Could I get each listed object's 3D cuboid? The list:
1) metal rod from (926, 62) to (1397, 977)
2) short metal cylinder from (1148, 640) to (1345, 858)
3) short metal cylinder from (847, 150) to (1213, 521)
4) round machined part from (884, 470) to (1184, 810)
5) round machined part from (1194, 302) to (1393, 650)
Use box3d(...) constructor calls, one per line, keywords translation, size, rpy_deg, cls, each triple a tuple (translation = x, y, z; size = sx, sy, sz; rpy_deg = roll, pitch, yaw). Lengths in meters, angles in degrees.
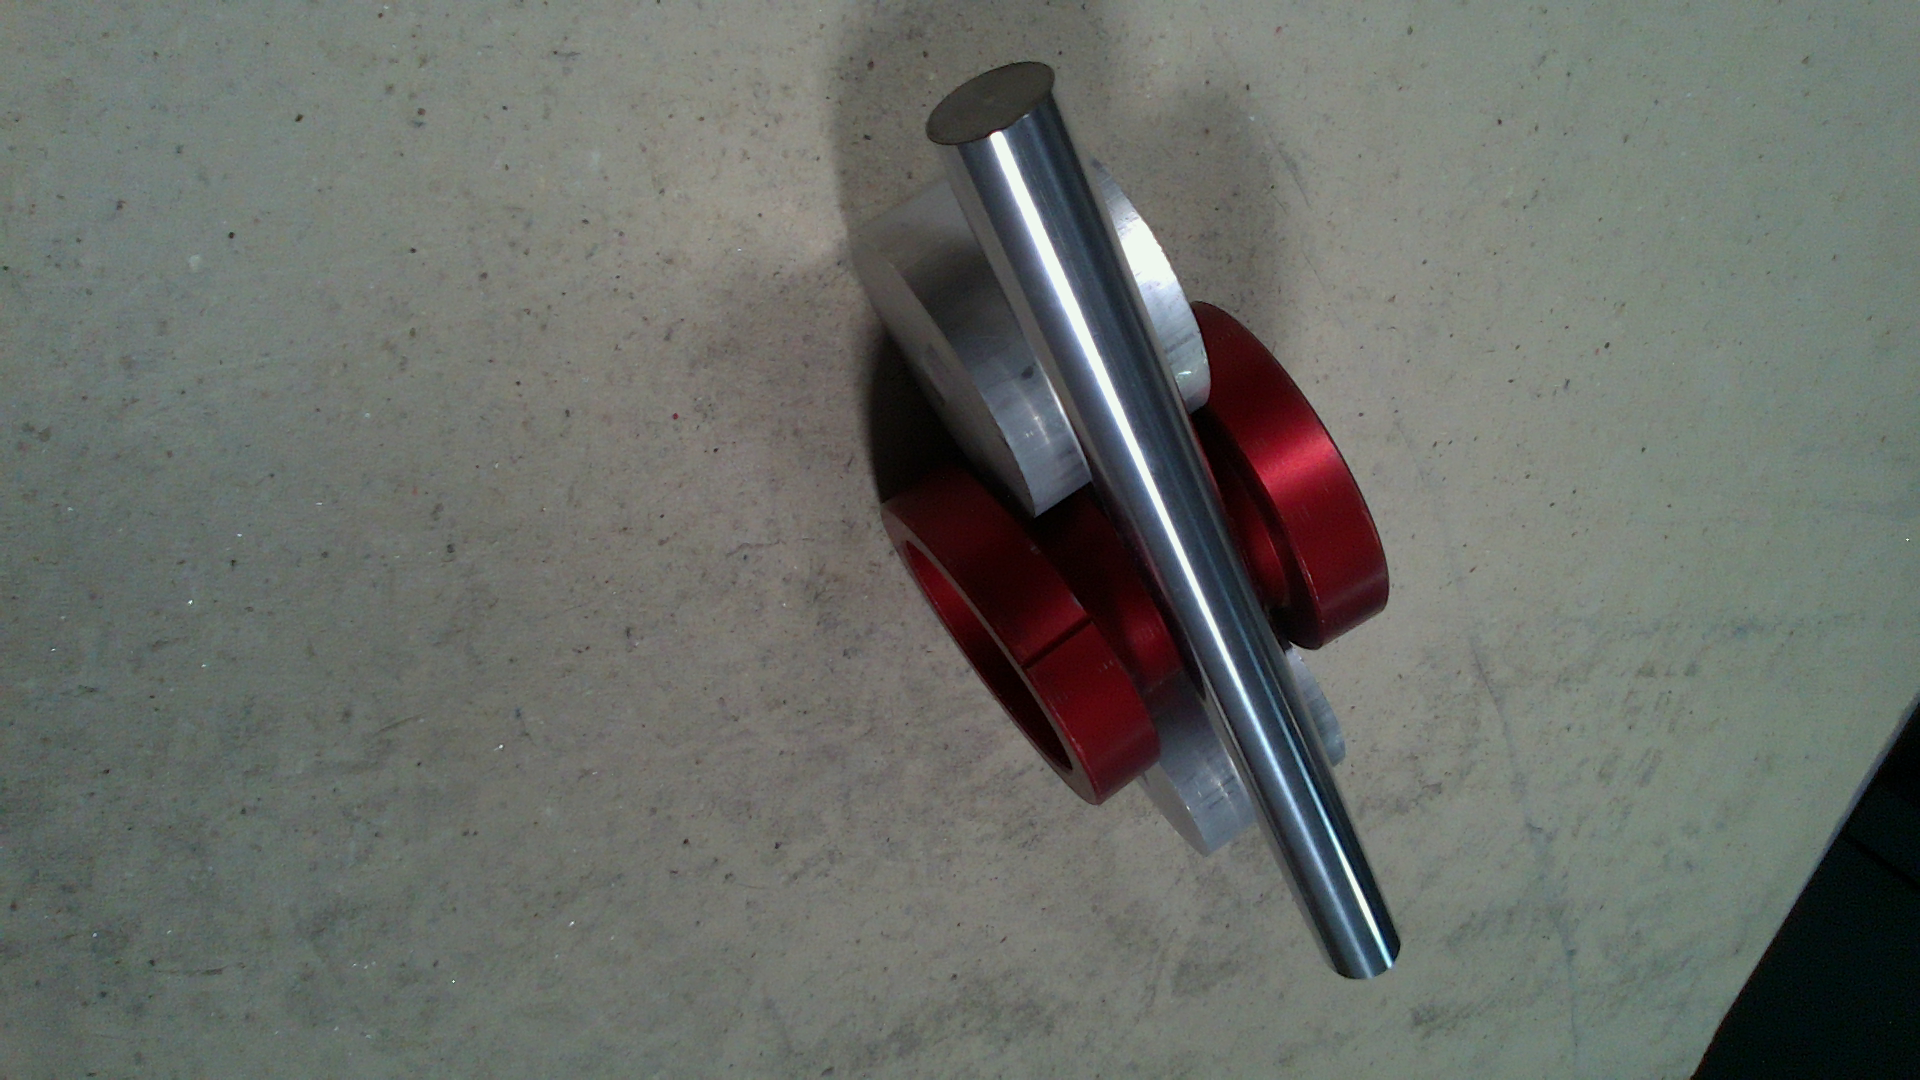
box3d(translation=(0.065, 0.024, 0.337), size=(0.025, 0.025, 0.301), rpy_deg=(-35, 129, -5), cls="metal rod")
box3d(translation=(0.072, 0.049, 0.423), size=(0.050, 0.080, 0.080), rpy_deg=(-34, 129, -6), cls="short metal cylinder")
box3d(translation=(0.016, -0.052, 0.330), size=(0.050, 0.080, 0.080), rpy_deg=(-34, 129, -6), cls="short metal cylinder")
box3d(translation=(0.024, 0.021, 0.367), size=(0.042, 0.098, 0.098), rpy_deg=(-37, 129, -9), cls="round machined part")
box3d(translation=(0.070, -0.011, 0.374), size=(0.042, 0.098, 0.098), rpy_deg=(-31, 129, -2), cls="round machined part")
